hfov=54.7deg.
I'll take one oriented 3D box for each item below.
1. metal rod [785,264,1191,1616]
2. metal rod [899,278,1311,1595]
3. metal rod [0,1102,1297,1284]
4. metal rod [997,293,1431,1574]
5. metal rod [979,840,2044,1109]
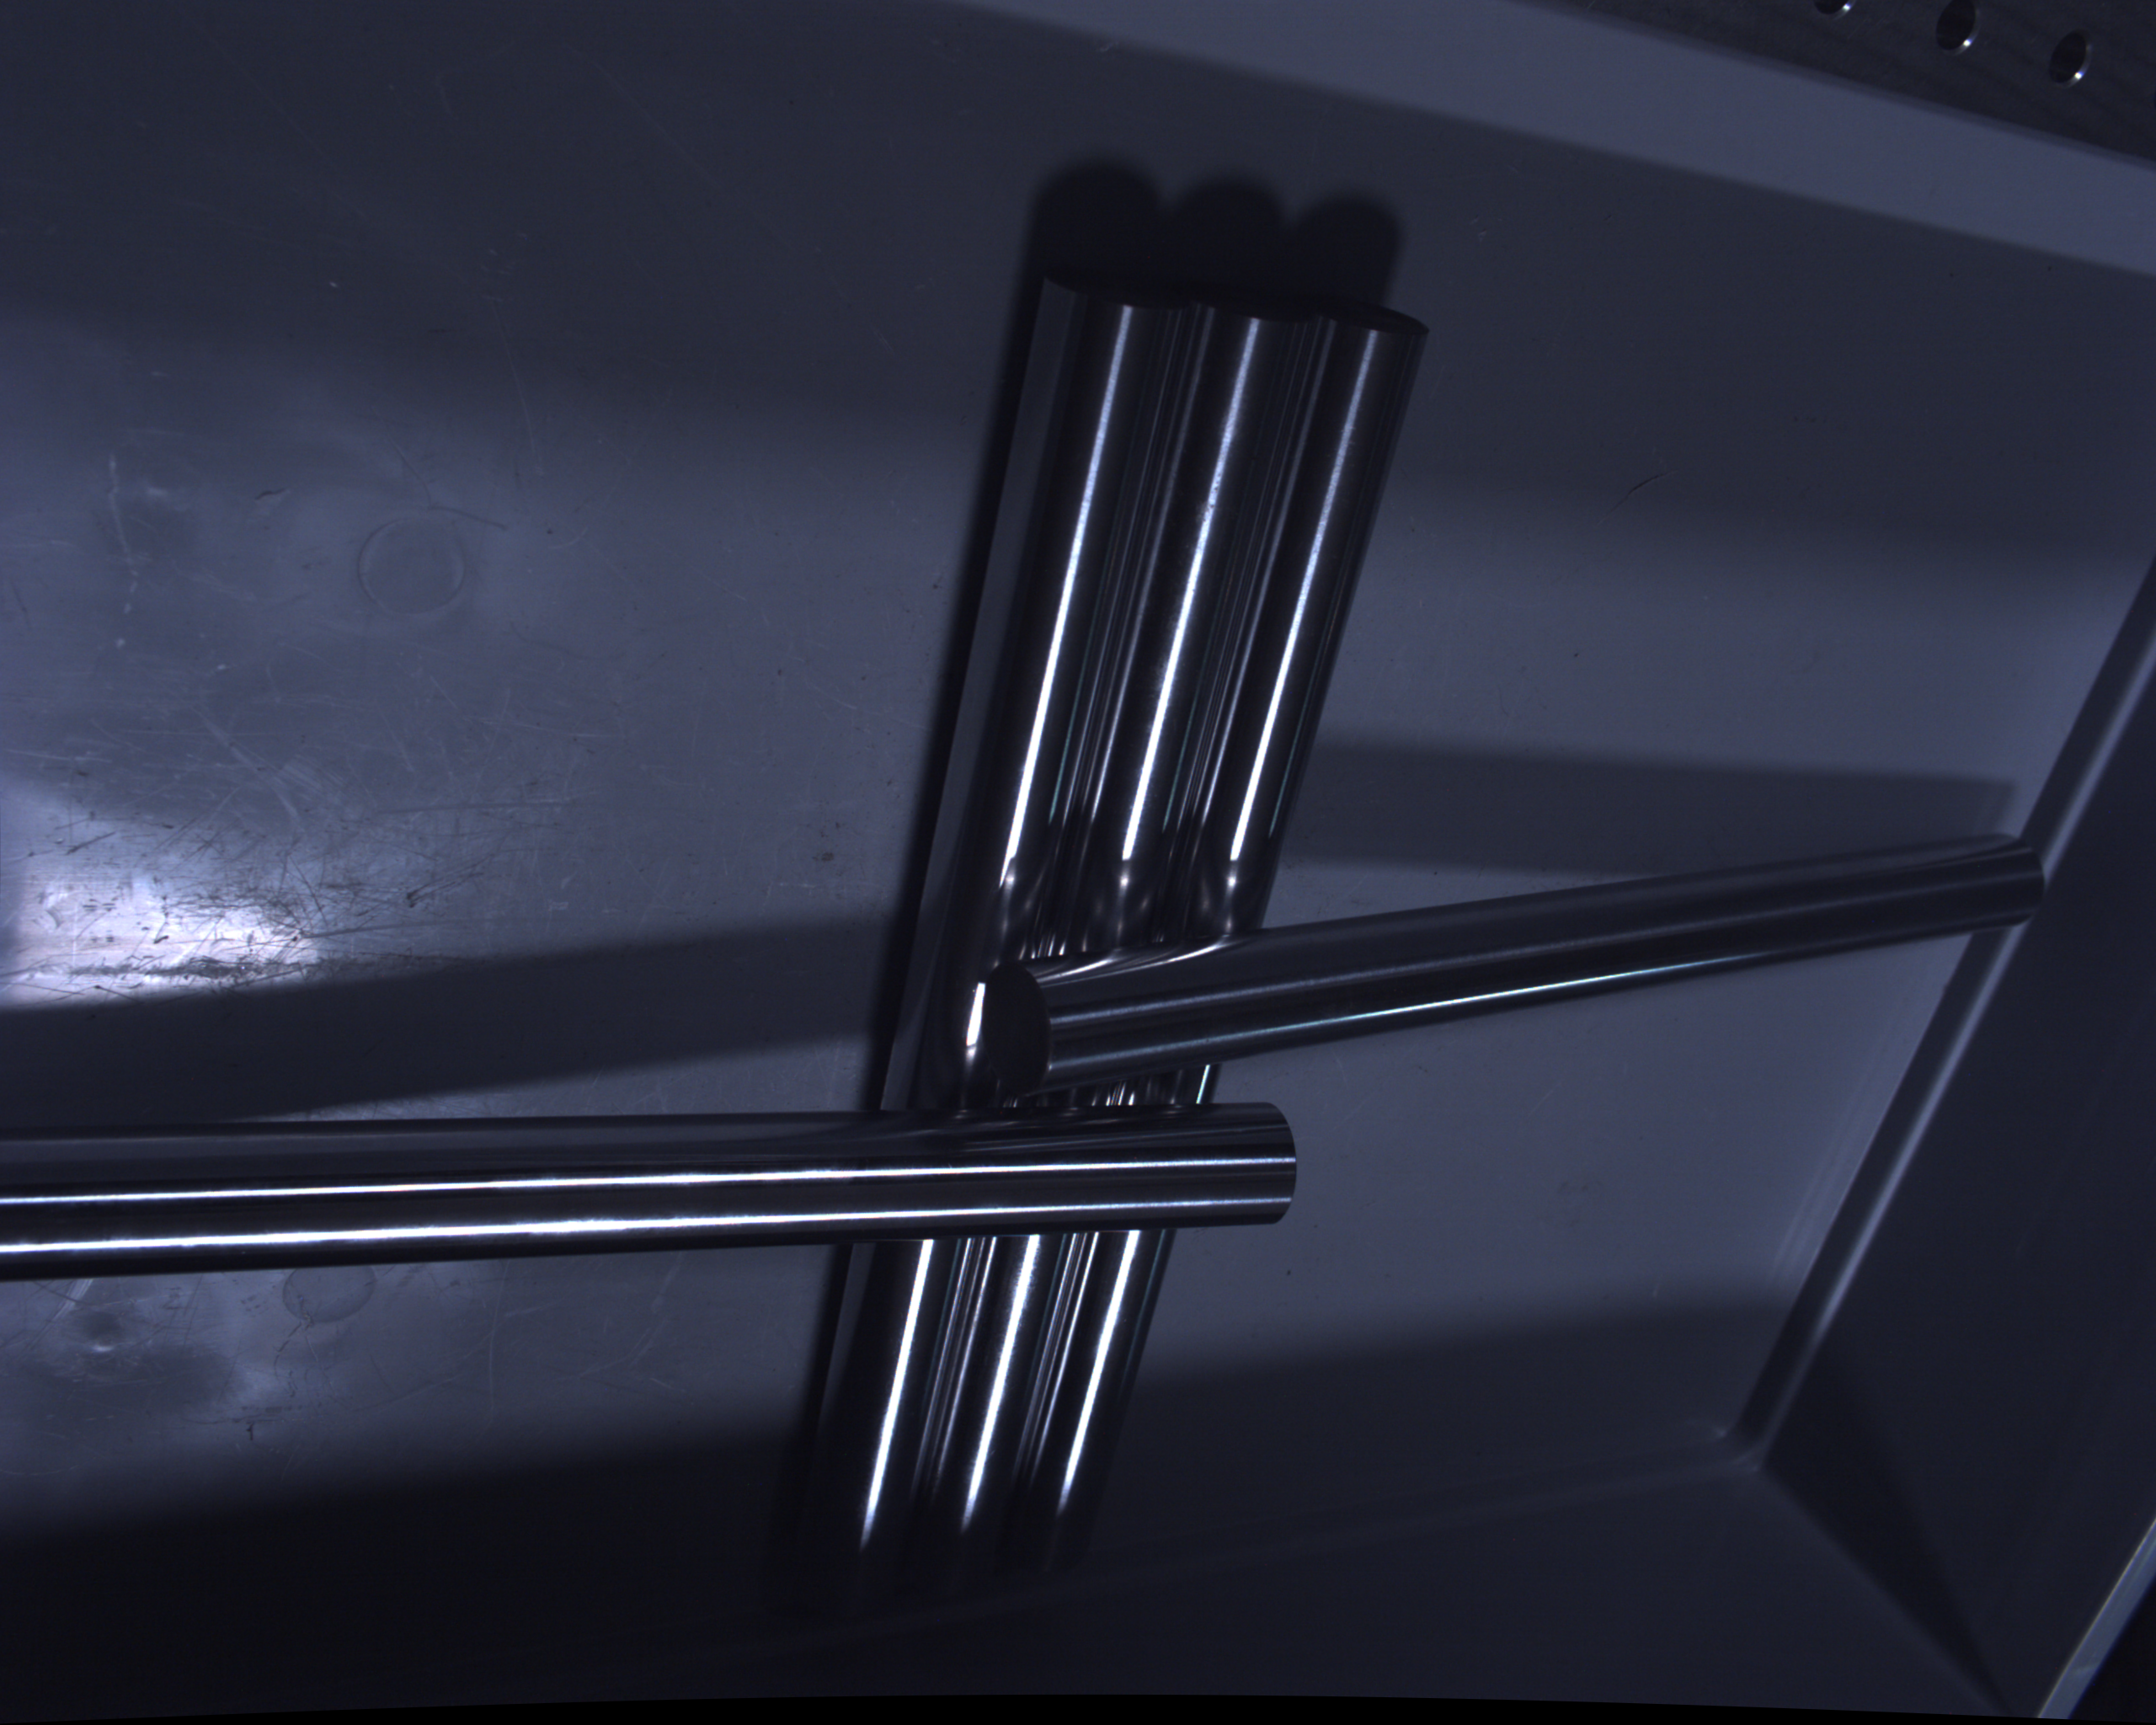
[{"bbox_3d":[-0.024,0.033,0.416,0.025,0.025,0.298,-2,119,-28],"label":"metal rod"},{"bbox_3d":[-0.002,0.032,0.427,0.025,0.025,0.298,-2,119,-28],"label":"metal rod"},{"bbox_3d":[-0.101,0.058,0.368,0.303,0.025,0.025,2,118,-23],"label":"metal rod"},{"bbox_3d":[0.020,0.032,0.440,0.025,0.025,0.298,-2,119,-28],"label":"metal rod"},{"bbox_3d":[0.114,0.019,0.461,0.303,0.025,0.025,-6,121,-33],"label":"metal rod"}]
